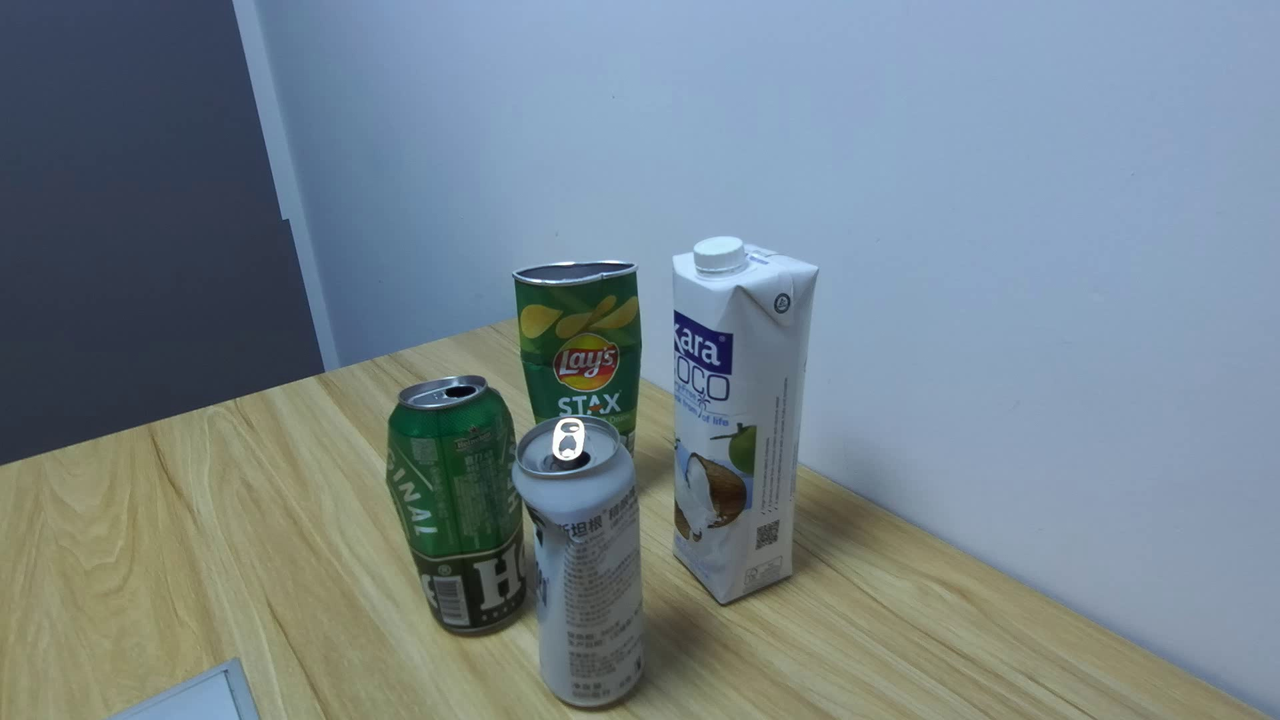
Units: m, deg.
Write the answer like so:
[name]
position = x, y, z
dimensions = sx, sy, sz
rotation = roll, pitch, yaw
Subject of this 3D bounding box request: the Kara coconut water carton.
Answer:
[Kara coconut water carton]
position = 0.064, 0.039, 0.469
dimensions = 0.075, 0.245, 0.076
rotation = -14, 28, -26

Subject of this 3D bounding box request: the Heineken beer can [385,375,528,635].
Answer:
[Heineken beer can]
position = -0.115, 0.095, 0.462
dimensions = 0.068, 0.168, 0.069
rotation = 6, 23, 27

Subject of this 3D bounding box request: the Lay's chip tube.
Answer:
[Lay's chip tube]
position = -0.043, 0.023, 0.563
dimensions = 0.068, 0.199, 0.075
rotation = 21, 34, 40

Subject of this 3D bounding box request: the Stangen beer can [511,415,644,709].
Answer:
[Stangen beer can]
position = -0.034, 0.115, 0.403
dimensions = 0.069, 0.173, 0.070
rotation = 6, 27, 18
